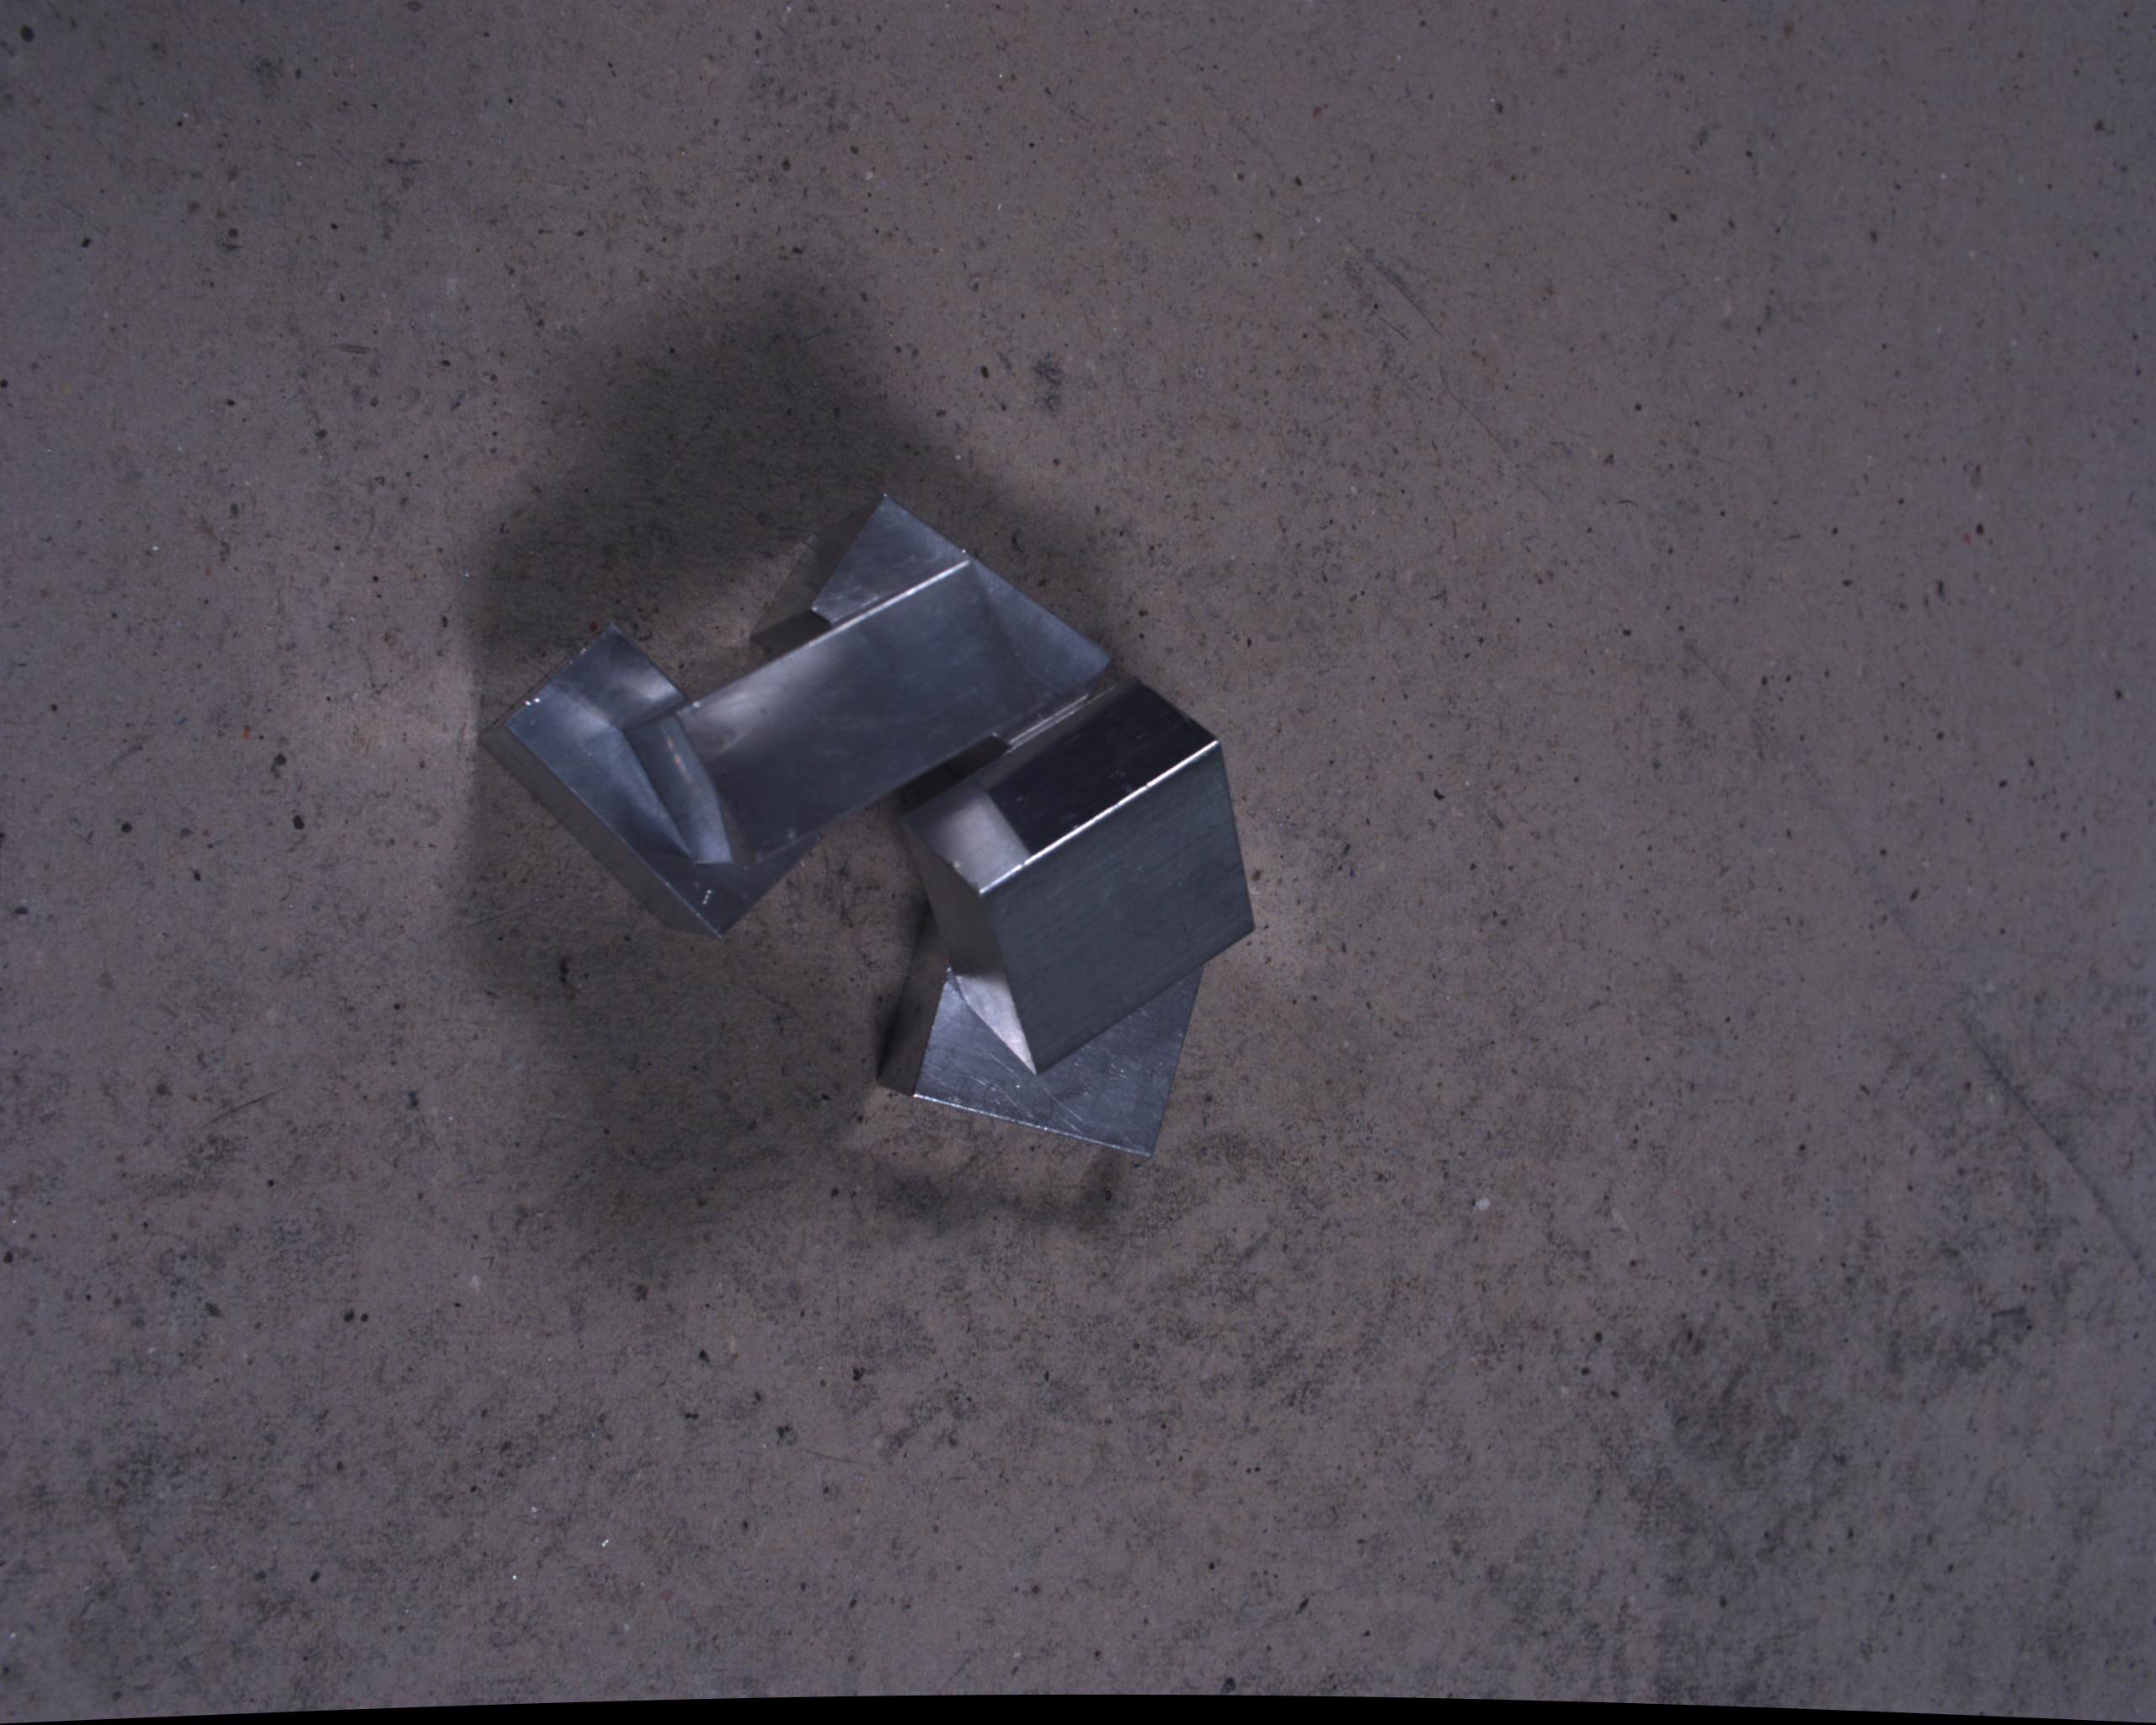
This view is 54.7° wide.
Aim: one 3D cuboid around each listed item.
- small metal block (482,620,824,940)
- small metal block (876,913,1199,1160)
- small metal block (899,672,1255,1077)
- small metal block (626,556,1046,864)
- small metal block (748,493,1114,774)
[{"bbox_3d":[-0.077,-0.014,0.369,0.025,0.050,0.050,-47,105,-14],"label":"small metal block"},{"bbox_3d":[-0.006,0.027,0.409,0.050,0.025,0.050,17,84,-20],"label":"small metal block"},{"bbox_3d":[0.001,0.002,0.372,0.050,0.025,0.050,-33,138,-17],"label":"small metal block"},{"bbox_3d":[-0.040,-0.023,0.330,0.050,0.050,0.025,-31,101,-18],"label":"small metal block"},{"bbox_3d":[-0.029,-0.040,0.387,0.050,0.050,0.025,34,79,-17],"label":"small metal block"}]
